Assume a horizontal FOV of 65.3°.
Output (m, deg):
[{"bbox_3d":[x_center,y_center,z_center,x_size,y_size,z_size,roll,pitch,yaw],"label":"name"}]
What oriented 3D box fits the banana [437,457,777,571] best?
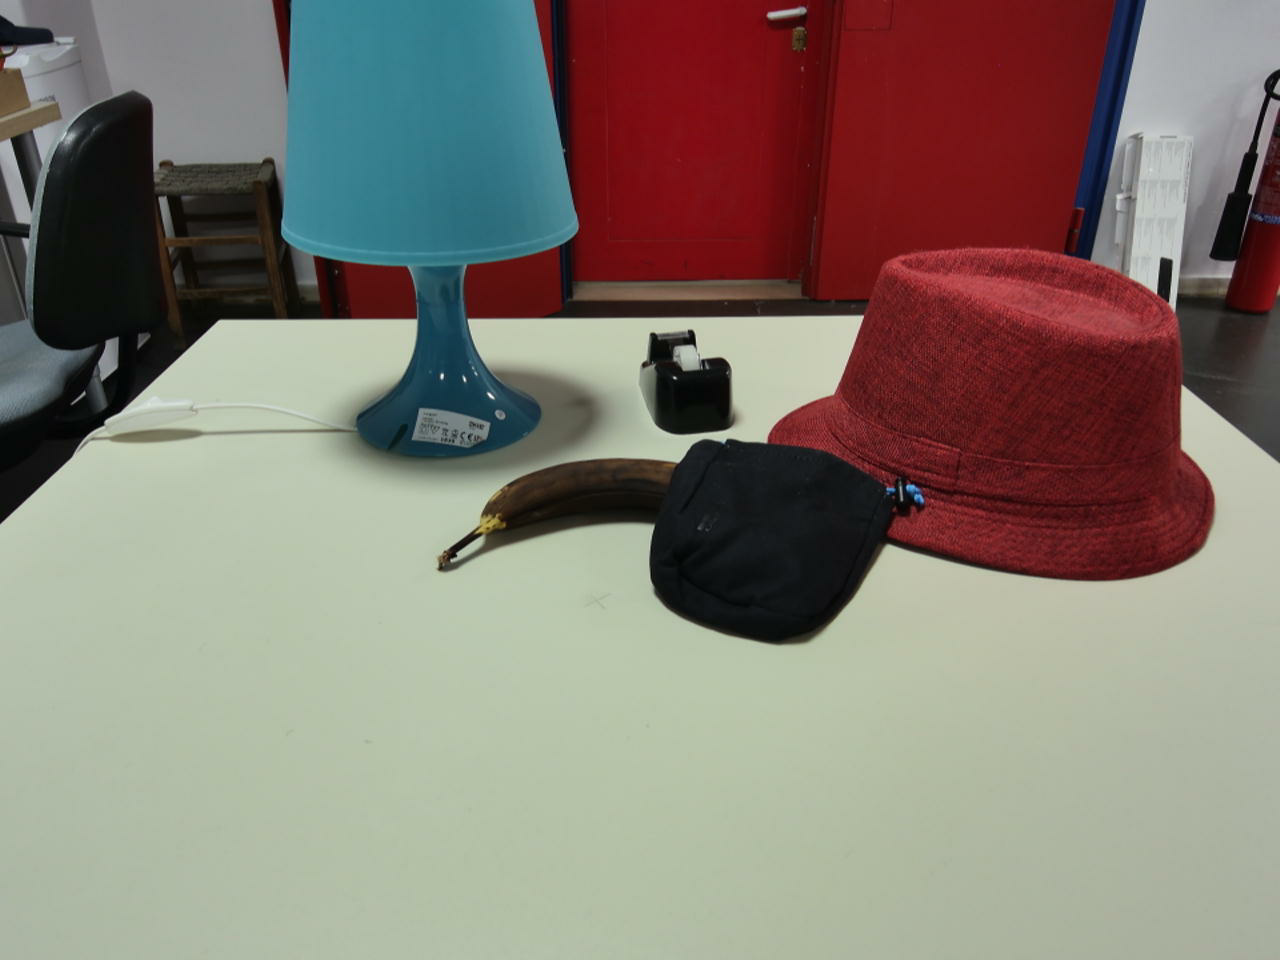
[{"bbox_3d":[-0.018,0.014,0.582,0.188,0.034,0.091,0,27,1],"label":"banana"}]
